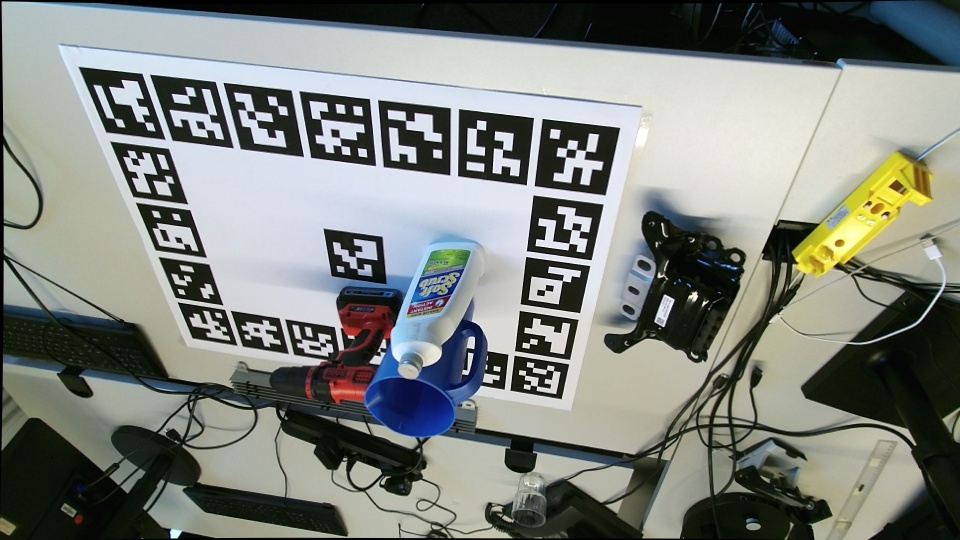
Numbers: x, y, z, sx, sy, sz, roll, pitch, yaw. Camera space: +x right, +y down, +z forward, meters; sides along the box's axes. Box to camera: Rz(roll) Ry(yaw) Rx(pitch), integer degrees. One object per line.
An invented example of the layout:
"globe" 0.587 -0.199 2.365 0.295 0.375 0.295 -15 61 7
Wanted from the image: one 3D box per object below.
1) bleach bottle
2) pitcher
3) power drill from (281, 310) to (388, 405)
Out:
"bleach bottle" -0.069 0.084 0.770 0.103 0.250 0.068 1 124 10
"pitcher" -0.082 0.154 0.846 0.189 0.242 0.133 -16 119 20
"power drill" -0.247 0.141 0.882 0.185 0.186 0.057 6 123 14
